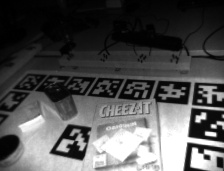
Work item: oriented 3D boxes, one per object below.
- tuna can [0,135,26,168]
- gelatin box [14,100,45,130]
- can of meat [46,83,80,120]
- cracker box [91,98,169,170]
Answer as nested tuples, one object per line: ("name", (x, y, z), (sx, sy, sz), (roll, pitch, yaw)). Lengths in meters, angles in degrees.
("tuna can", (-0.282, 0.178, 0.586), (0.085, 0.034, 0.085), (-9, 39, 8))
("gelatin box", (-0.270, 0.092, 0.704), (0.074, 0.030, 0.088), (-25, 41, -21))
("can of meat", (-0.155, 0.052, 0.690), (0.058, 0.084, 0.100), (-35, 41, -28))
("cracker box", (0.042, 0.128, 0.537), (0.164, 0.072, 0.212), (-7, 35, 6))
